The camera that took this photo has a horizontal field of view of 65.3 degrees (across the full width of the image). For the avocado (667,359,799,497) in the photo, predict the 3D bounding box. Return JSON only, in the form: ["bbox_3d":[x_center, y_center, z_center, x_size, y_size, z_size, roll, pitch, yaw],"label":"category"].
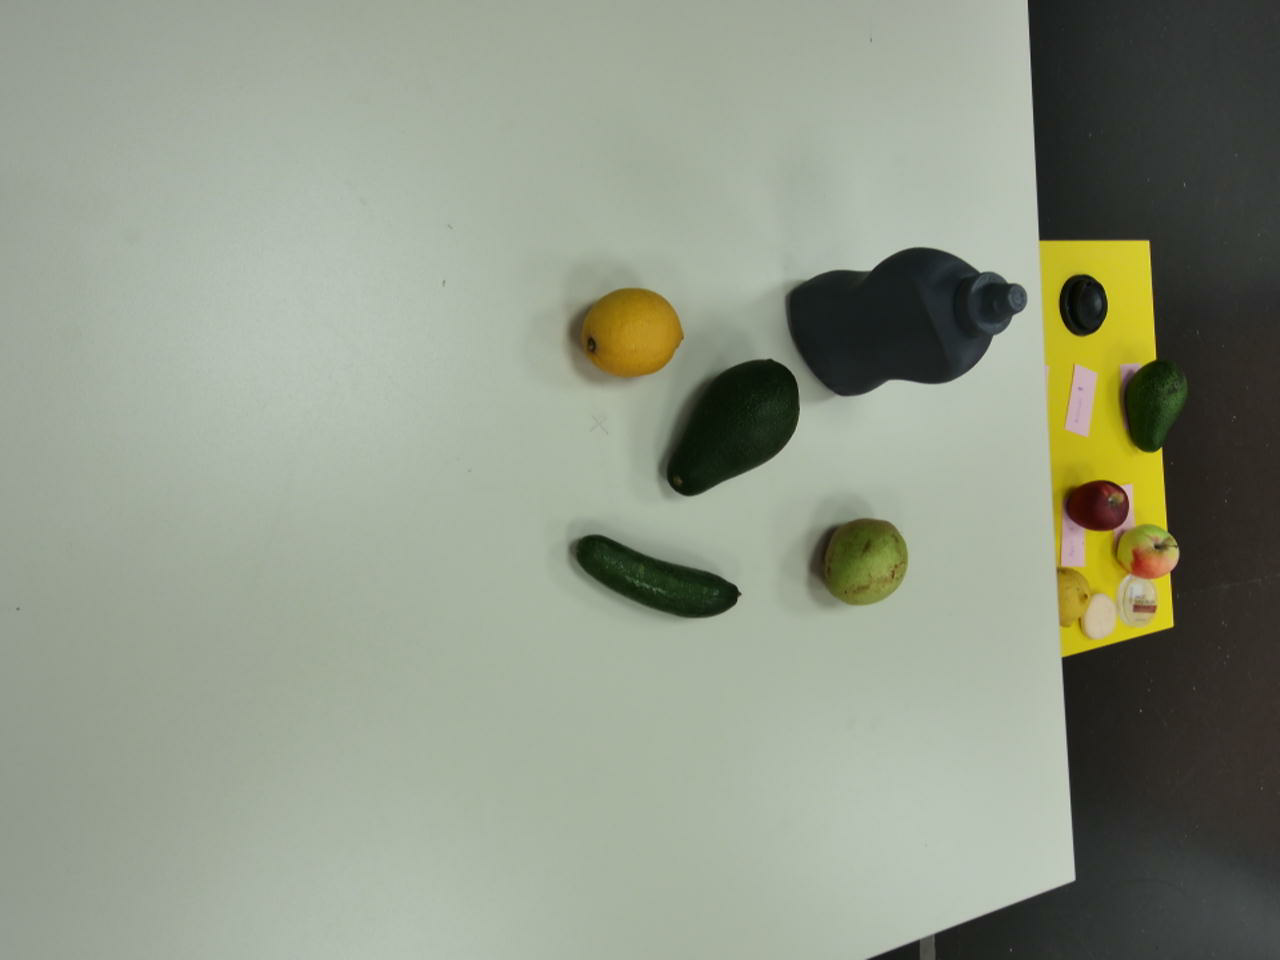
[{"bbox_3d":[0.065,-0.040,0.706,0.109,0.071,0.072,-30,104,-24],"label":"avocado"}]
